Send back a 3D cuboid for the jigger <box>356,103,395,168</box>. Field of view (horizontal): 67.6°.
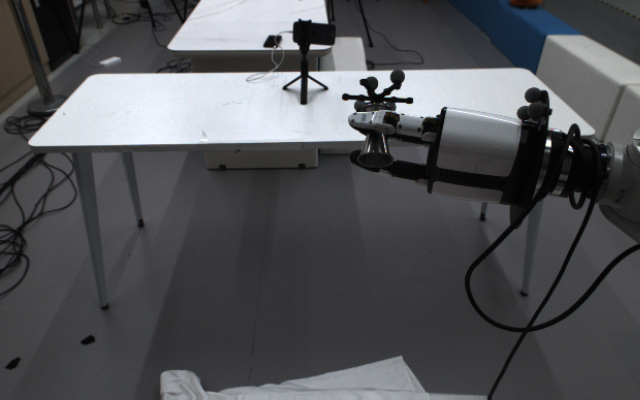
[{"bbox_3d":[0.067,-0.080,0.596,0.043,0.043,0.071,4,71,3],"label":"jigger"}]
